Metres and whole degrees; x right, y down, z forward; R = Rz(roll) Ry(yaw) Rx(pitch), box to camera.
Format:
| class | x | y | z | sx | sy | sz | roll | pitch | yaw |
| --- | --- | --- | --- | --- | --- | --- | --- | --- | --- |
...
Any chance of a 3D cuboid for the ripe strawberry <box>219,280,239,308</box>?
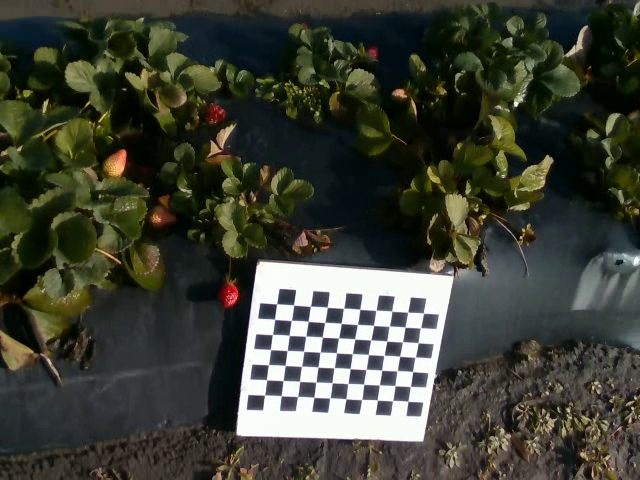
| class | x | y | z | sx | sy | sz | roll | pitch | yaw |
| --- | --- | --- | --- | --- | --- | --- | --- | --- | --- |
| ripe strawberry | -0.113 | 0.068 | 0.862 | 0.034 | 0.038 | 0.033 | 4 | -37 | -11 |
